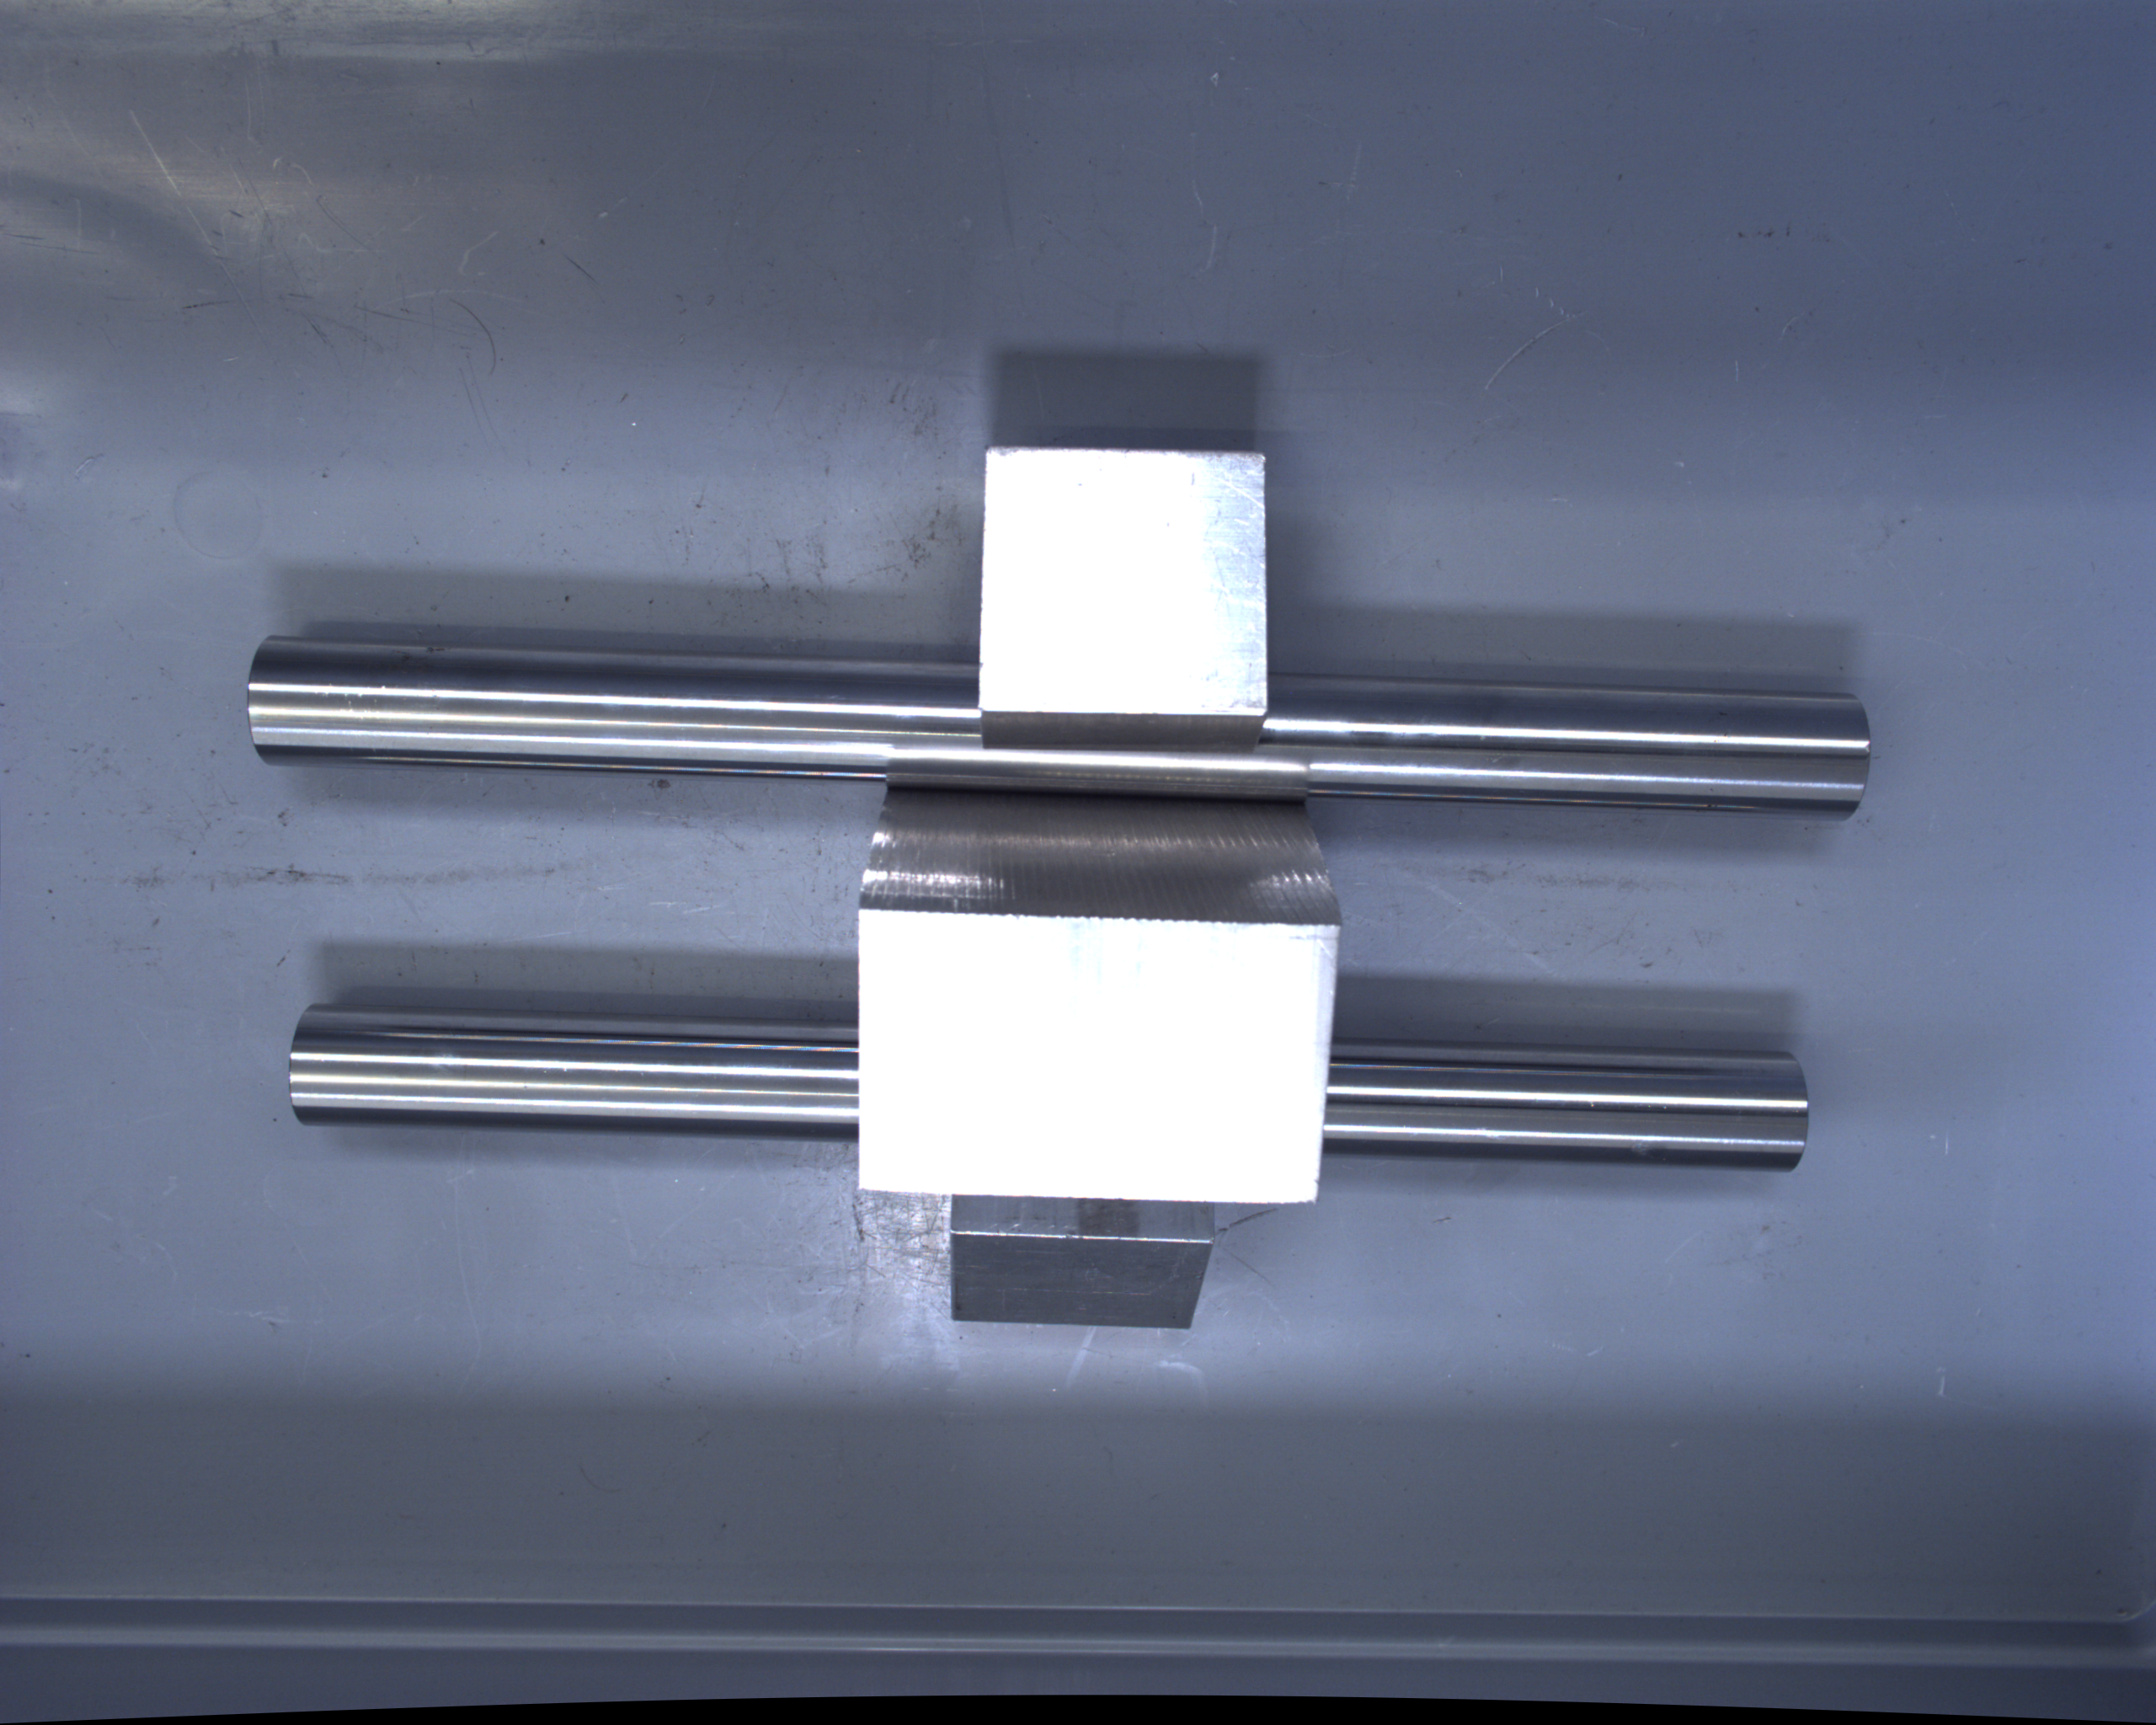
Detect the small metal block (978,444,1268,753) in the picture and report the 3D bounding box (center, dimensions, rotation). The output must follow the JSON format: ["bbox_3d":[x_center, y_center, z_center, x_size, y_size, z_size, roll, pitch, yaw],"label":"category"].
[{"bbox_3d":[0.008,-0.048,0.380,0.050,0.025,0.050,1,76,-1],"label":"small metal block"}]

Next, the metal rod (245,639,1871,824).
[{"bbox_3d":[-0.002,-0.025,0.399,0.302,0.025,0.025,2,110,-1],"label":"metal rod"}]

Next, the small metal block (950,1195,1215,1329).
[{"bbox_3d":[0.000,0.073,0.424,0.050,0.025,0.050,2,148,-2],"label":"small metal block"}]

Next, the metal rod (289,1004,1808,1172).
[{"bbox_3d":[-0.005,0.046,0.427,0.302,0.025,0.025,2,110,-1],"label":"metal rod"}]

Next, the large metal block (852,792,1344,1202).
[{"bbox_3d":[0.003,0.020,0.387,0.081,0.080,0.050,2,110,-1],"label":"large metal block"}]
